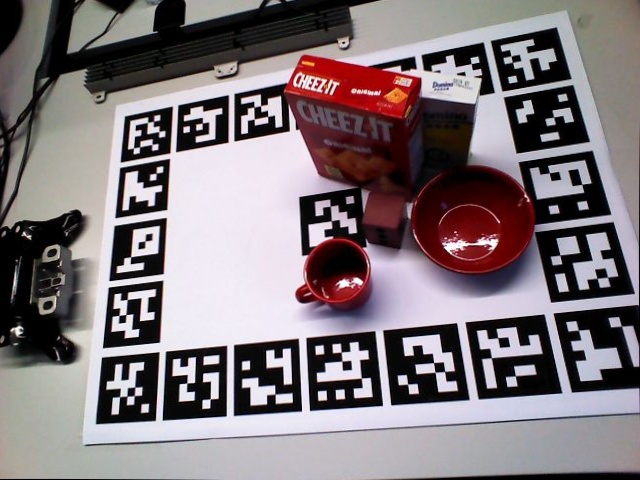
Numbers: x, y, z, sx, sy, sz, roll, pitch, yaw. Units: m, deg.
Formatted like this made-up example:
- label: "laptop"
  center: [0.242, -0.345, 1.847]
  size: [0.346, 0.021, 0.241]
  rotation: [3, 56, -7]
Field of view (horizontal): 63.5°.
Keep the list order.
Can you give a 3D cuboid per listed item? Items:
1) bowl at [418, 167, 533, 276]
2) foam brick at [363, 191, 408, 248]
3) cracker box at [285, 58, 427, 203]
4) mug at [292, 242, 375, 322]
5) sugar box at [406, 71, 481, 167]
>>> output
- label: "bowl"
  center: [0.216, -0.017, 0.702]
  size: [0.162, 0.055, 0.161]
  rotation: [-5, 69, 13]
- label: "foam brick"
  center: [0.096, -0.028, 0.741]
  size: [0.053, 0.078, 0.051]
  rotation: [7, 70, 17]
- label: "cracker box"
  center: [0.059, -0.145, 0.717]
  size: [0.165, 0.214, 0.071]
  rotation: [21, 74, 20]
- label: "mug"
  center: [0.019, 0.066, 0.714]
  size: [0.117, 0.081, 0.093]
  rotation: [-17, 58, 10]
- label: "sugar box"
  center: [0.170, -0.166, 0.715]
  size: [0.093, 0.176, 0.045]
  rotation: [13, 73, 19]
